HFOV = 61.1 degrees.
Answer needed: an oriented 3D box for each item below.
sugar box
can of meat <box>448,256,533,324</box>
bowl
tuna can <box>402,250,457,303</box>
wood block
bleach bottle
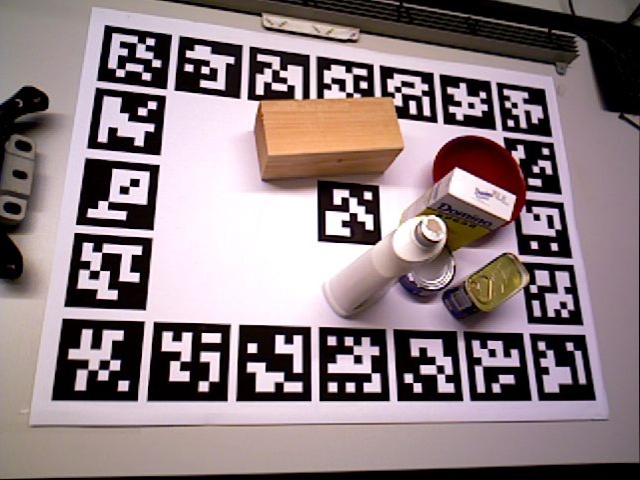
[{"bbox_3d":[0.196,-0.032,0.753,0.092,0.179,0.045,23,68,-1],"label":"sugar box"},{"bbox_3d":[0.245,0.073,0.788,0.100,0.085,0.057,-27,76,-22],"label":"can of meat"},{"bbox_3d":[0.257,-0.082,0.854,0.160,0.056,0.160,3,71,-8],"label":"bowl"},{"bbox_3d":[0.158,0.049,0.795,0.085,0.034,0.085,3,74,-12],"label":"tuna can"},{"bbox_3d":[0.009,-0.148,0.802,0.203,0.091,0.091,-5,77,-16],"label":"wood block"},{"bbox_3d":[0.087,0.029,0.670,0.101,0.255,0.068,-22,76,-20],"label":"bleach bottle"}]
